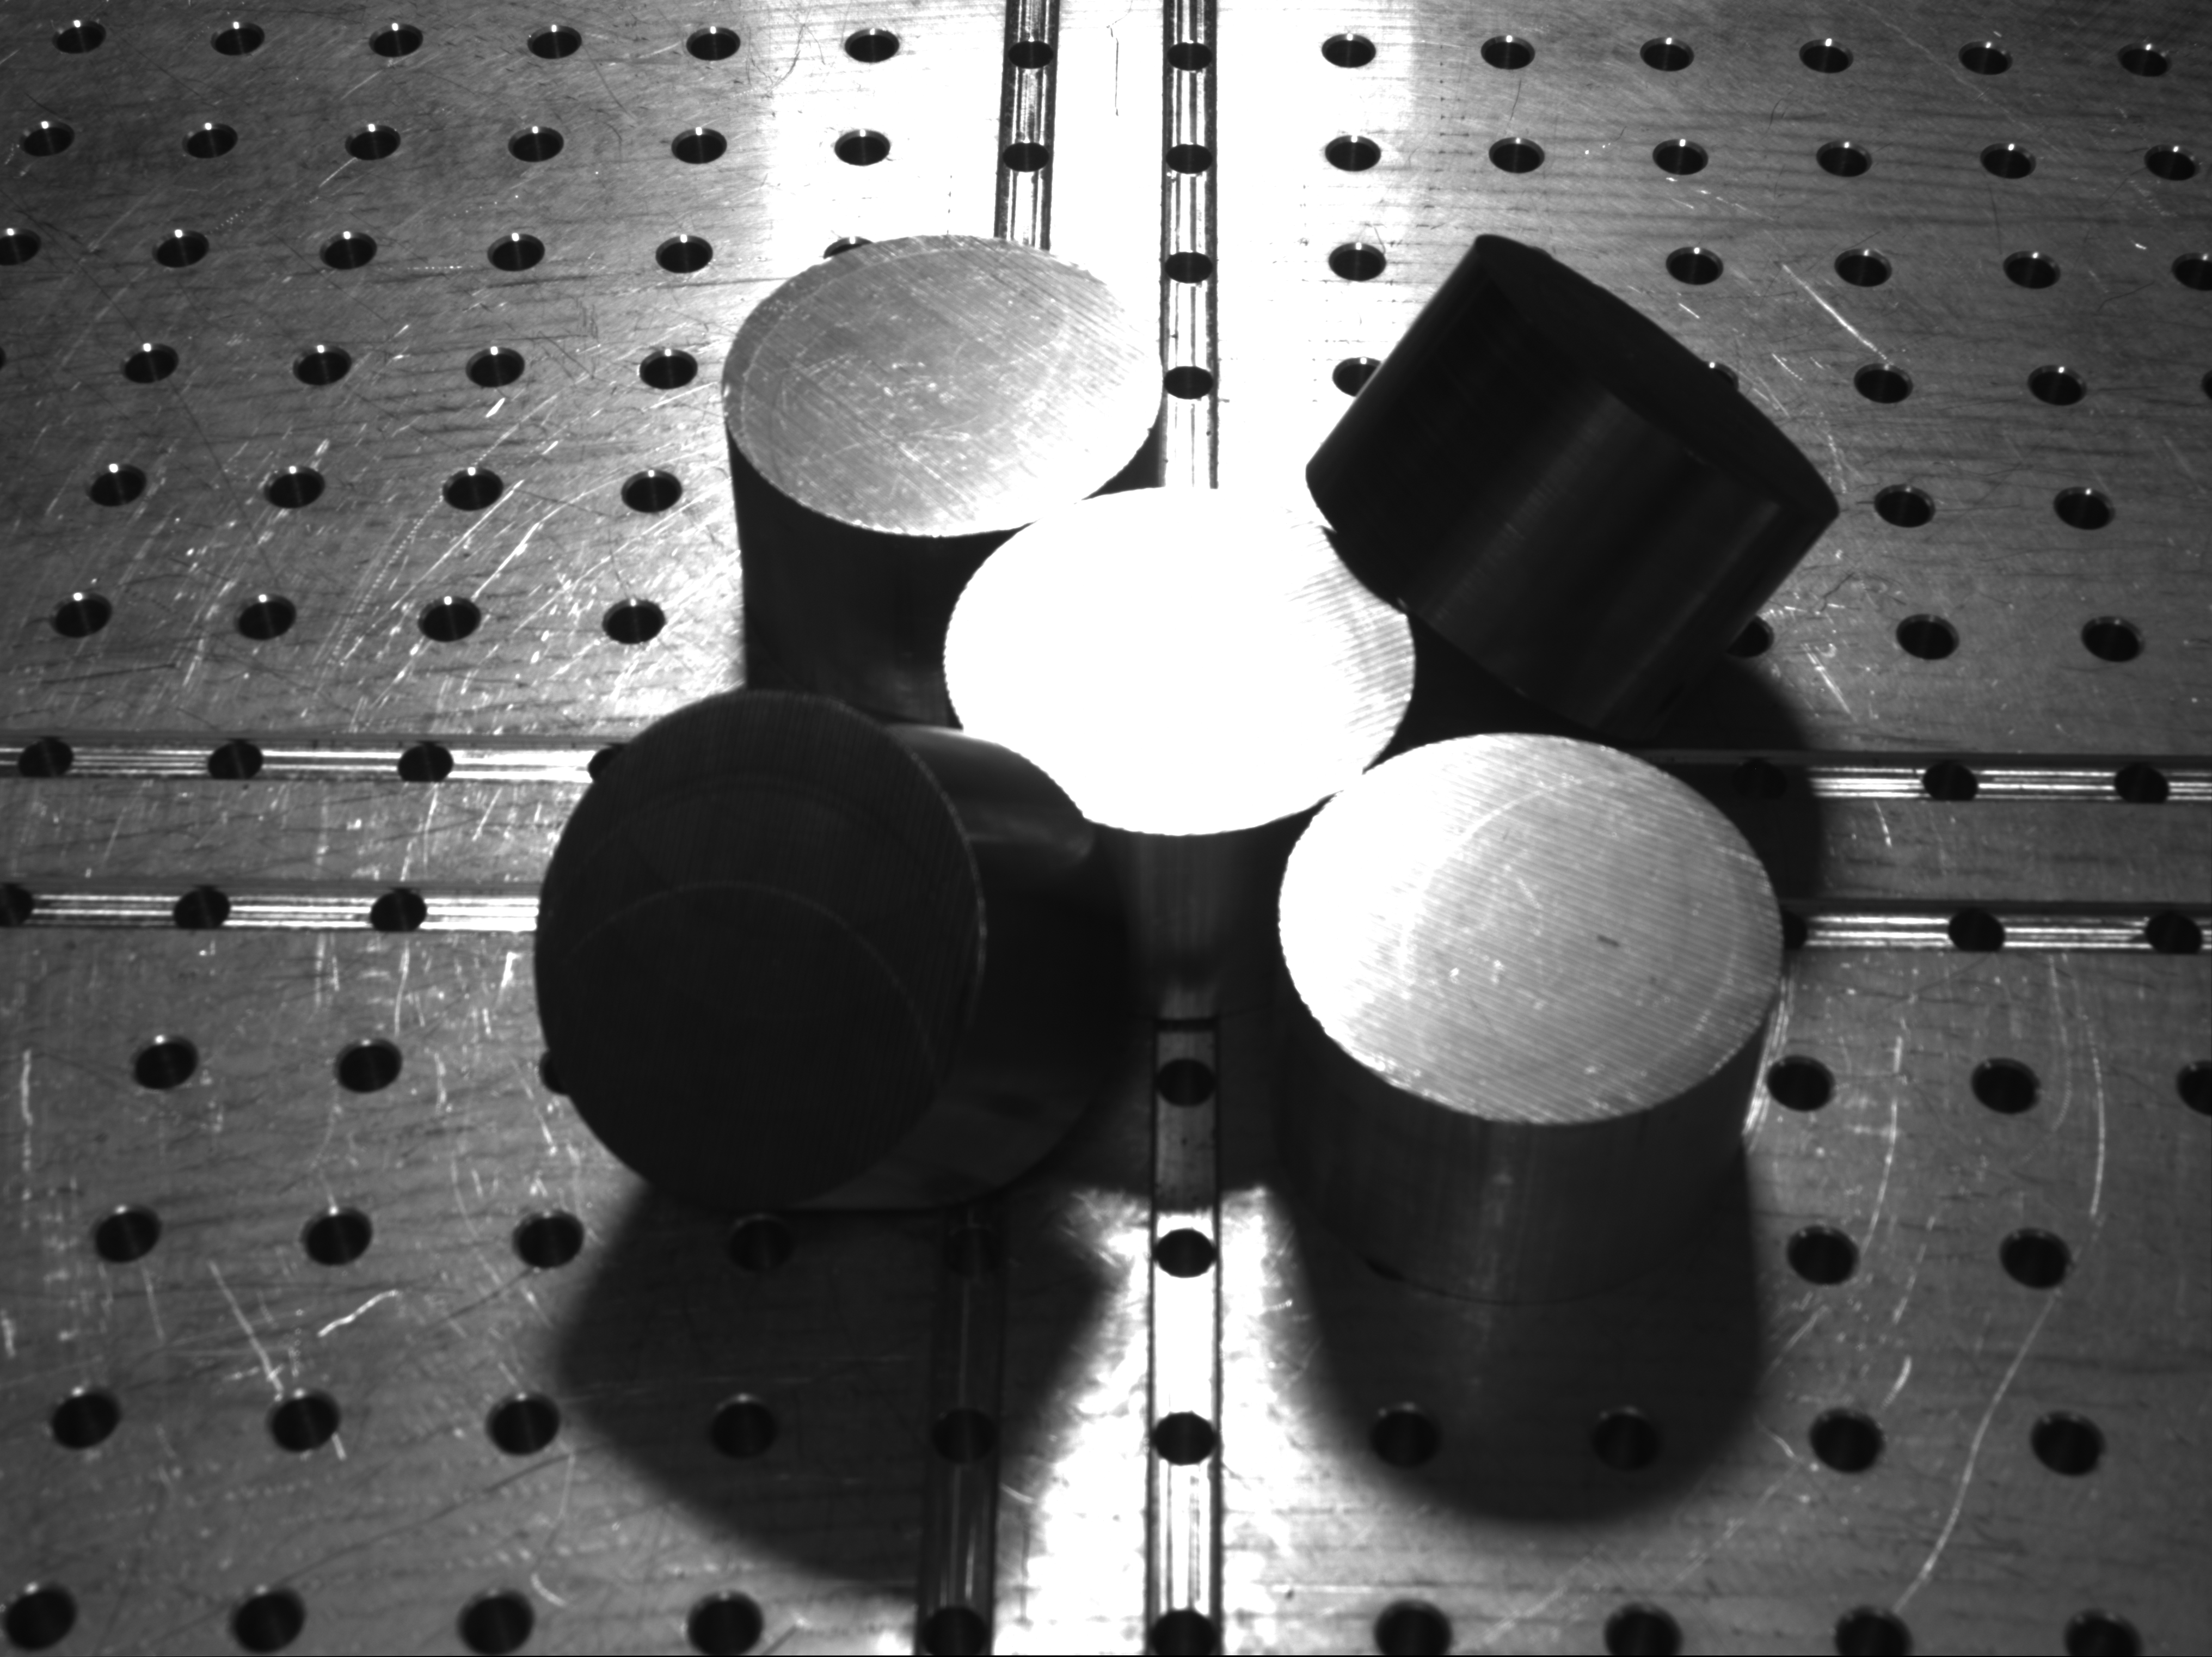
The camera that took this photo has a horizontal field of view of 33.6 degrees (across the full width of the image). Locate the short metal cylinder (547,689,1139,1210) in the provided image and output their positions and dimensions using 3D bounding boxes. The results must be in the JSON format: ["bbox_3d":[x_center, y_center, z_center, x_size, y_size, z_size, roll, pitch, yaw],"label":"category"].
[{"bbox_3d":[-0.042,0.021,0.584,0.080,0.050,0.080,-3,83,26],"label":"short metal cylinder"}]

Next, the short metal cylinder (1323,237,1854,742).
[{"bbox_3d":[0.086,-0.061,0.654,0.080,0.050,0.080,32,21,-14],"label":"short metal cylinder"}]

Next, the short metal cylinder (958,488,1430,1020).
[{"bbox_3d":[0.015,-0.013,0.640,0.080,0.050,0.080,0,50,0],"label":"short metal cylinder"}]

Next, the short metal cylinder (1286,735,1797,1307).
[{"bbox_3d":[0.070,0.031,0.602,0.080,0.050,0.080,0,50,0],"label":"short metal cylinder"}]

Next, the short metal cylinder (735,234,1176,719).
[{"bbox_3d":[-0.027,-0.065,0.684,0.080,0.050,0.080,0,50,0],"label":"short metal cylinder"}]
